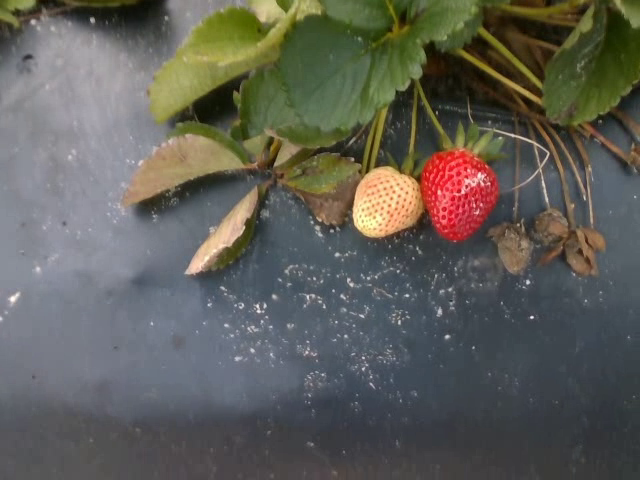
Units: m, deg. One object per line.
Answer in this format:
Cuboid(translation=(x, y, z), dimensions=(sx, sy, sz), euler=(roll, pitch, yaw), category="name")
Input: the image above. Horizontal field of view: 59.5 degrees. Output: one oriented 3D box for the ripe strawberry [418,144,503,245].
Cuboid(translation=(0.052, -0.017, 0.210), dimensions=(0.034, 0.042, 0.033), euler=(30, -38, -5), category="ripe strawberry")
